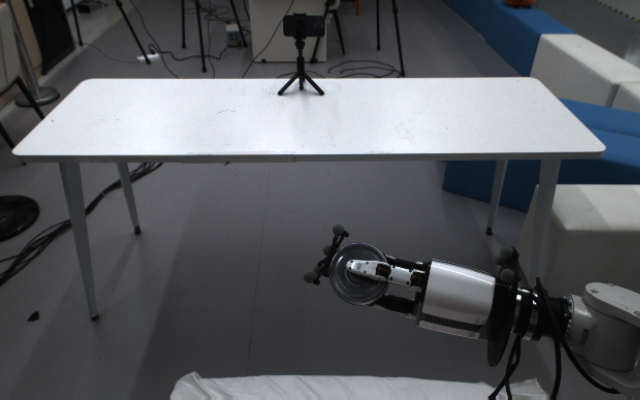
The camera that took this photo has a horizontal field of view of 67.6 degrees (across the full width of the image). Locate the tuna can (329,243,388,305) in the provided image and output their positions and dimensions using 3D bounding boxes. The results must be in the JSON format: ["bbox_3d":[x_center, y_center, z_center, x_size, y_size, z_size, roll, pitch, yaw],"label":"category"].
[{"bbox_3d":[0.059,0.103,0.680,0.085,0.034,0.085,-2,71,5],"label":"tuna can"}]
